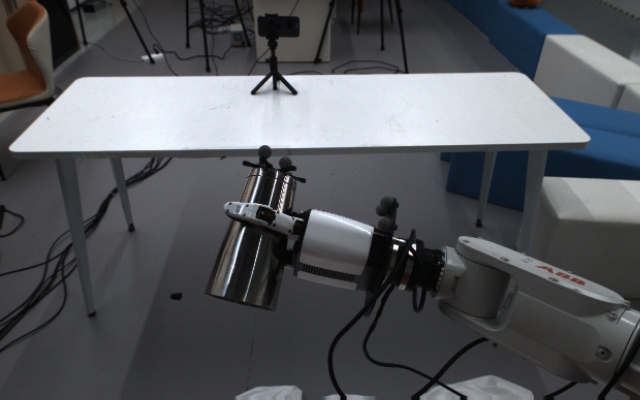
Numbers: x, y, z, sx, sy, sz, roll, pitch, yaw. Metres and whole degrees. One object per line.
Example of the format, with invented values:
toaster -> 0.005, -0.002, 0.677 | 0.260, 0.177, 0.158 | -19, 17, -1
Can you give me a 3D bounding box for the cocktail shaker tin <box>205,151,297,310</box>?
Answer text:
cocktail shaker tin -> -0.082, 0.050, 0.628 | 0.093, 0.093, 0.170 | 11, 74, 12
